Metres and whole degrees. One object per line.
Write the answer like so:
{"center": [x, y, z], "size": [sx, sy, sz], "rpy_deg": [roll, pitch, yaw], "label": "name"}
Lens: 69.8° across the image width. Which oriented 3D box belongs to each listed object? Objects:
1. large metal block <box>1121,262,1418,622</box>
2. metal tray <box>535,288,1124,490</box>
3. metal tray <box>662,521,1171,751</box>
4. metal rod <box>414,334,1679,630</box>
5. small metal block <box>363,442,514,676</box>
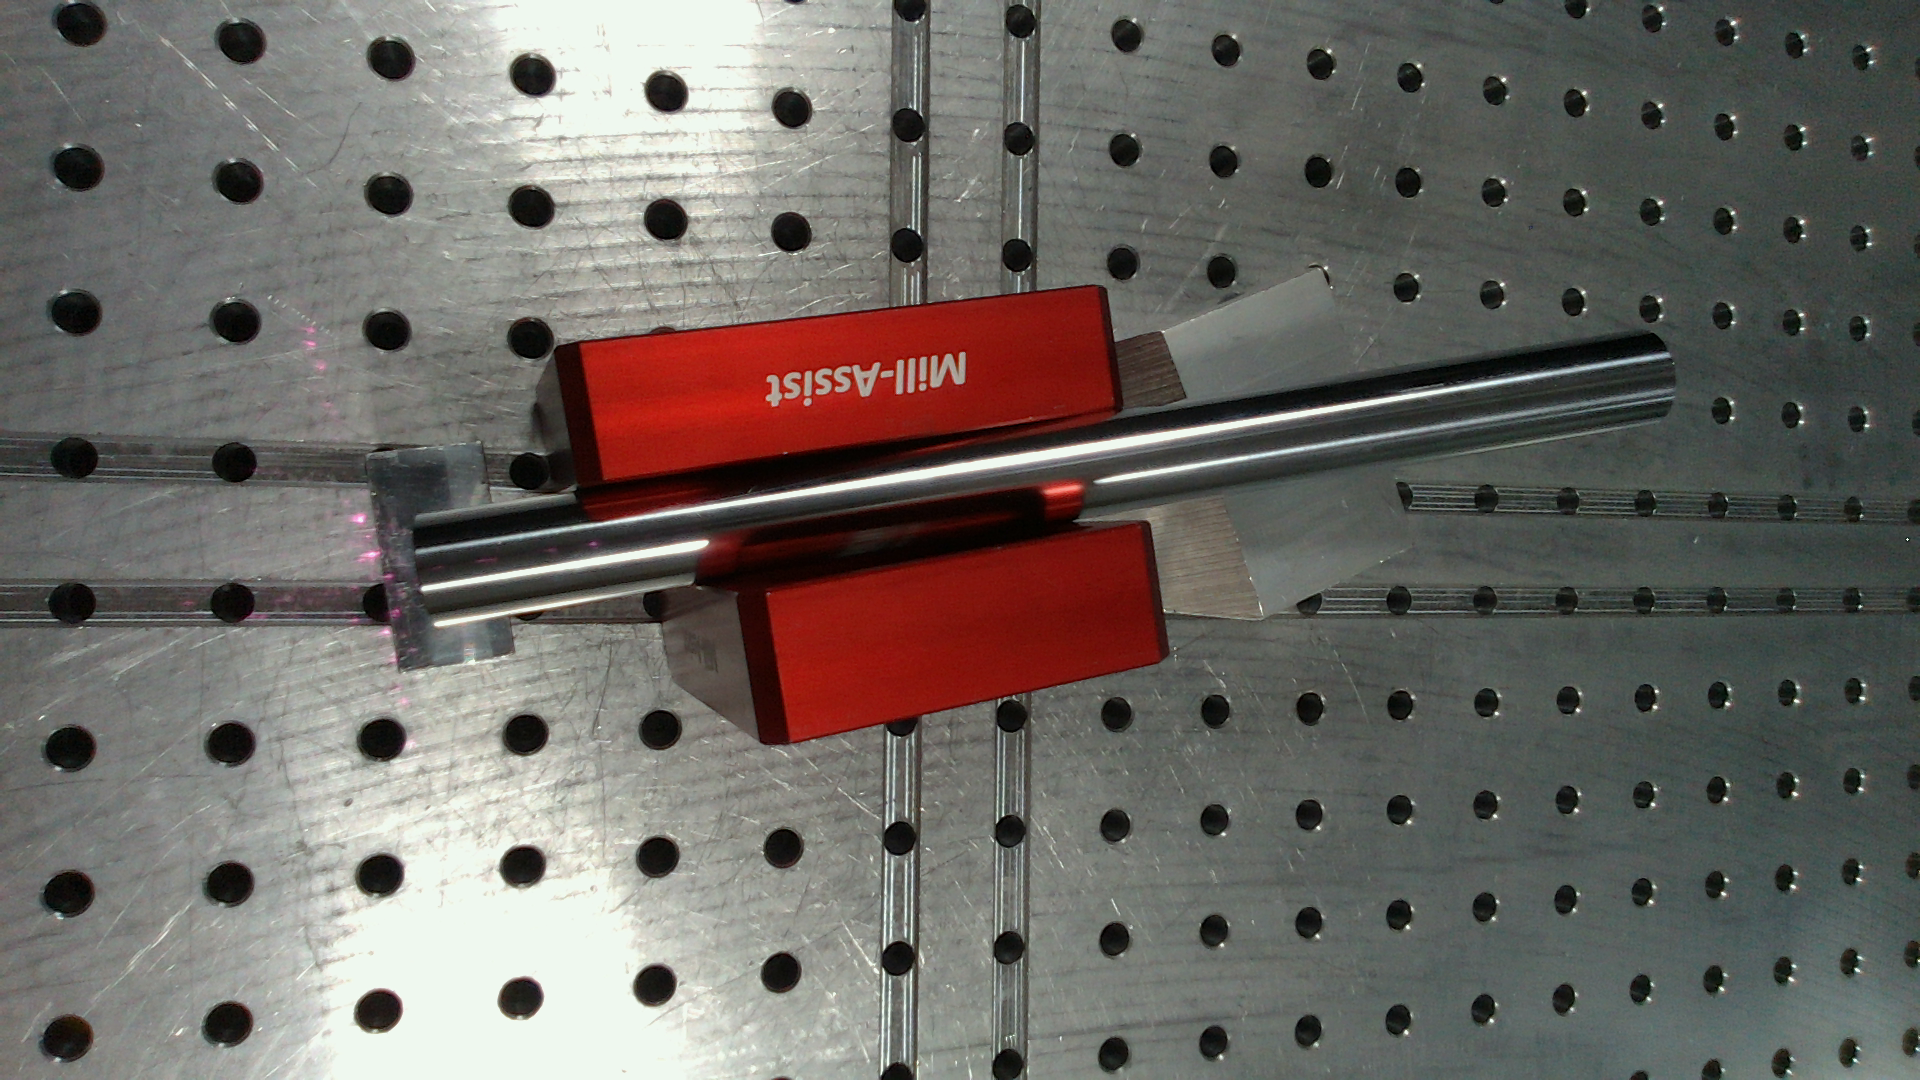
{"center": [0.073, -0.026, 0.392], "size": [0.050, 0.080, 0.080], "rpy_deg": [-24, 98, -18], "label": "large metal block"}
{"center": [-0.036, -0.036, 0.347], "size": [0.130, 0.090, 0.030], "rpy_deg": [-10, 94, -20], "label": "metal tray"}
{"center": [-0.019, 0.018, 0.333], "size": [0.090, 0.130, 0.030], "rpy_deg": [-10, 94, -20], "label": "metal tray"}
{"center": [0.030, -0.017, 0.327], "size": [0.300, 0.025, 0.025], "rpy_deg": [-9, 93, -10], "label": "metal rod"}
{"center": [-0.127, 0.004, 0.336], "size": [0.025, 0.050, 0.050], "rpy_deg": [-9, 93, -19], "label": "small metal block"}
